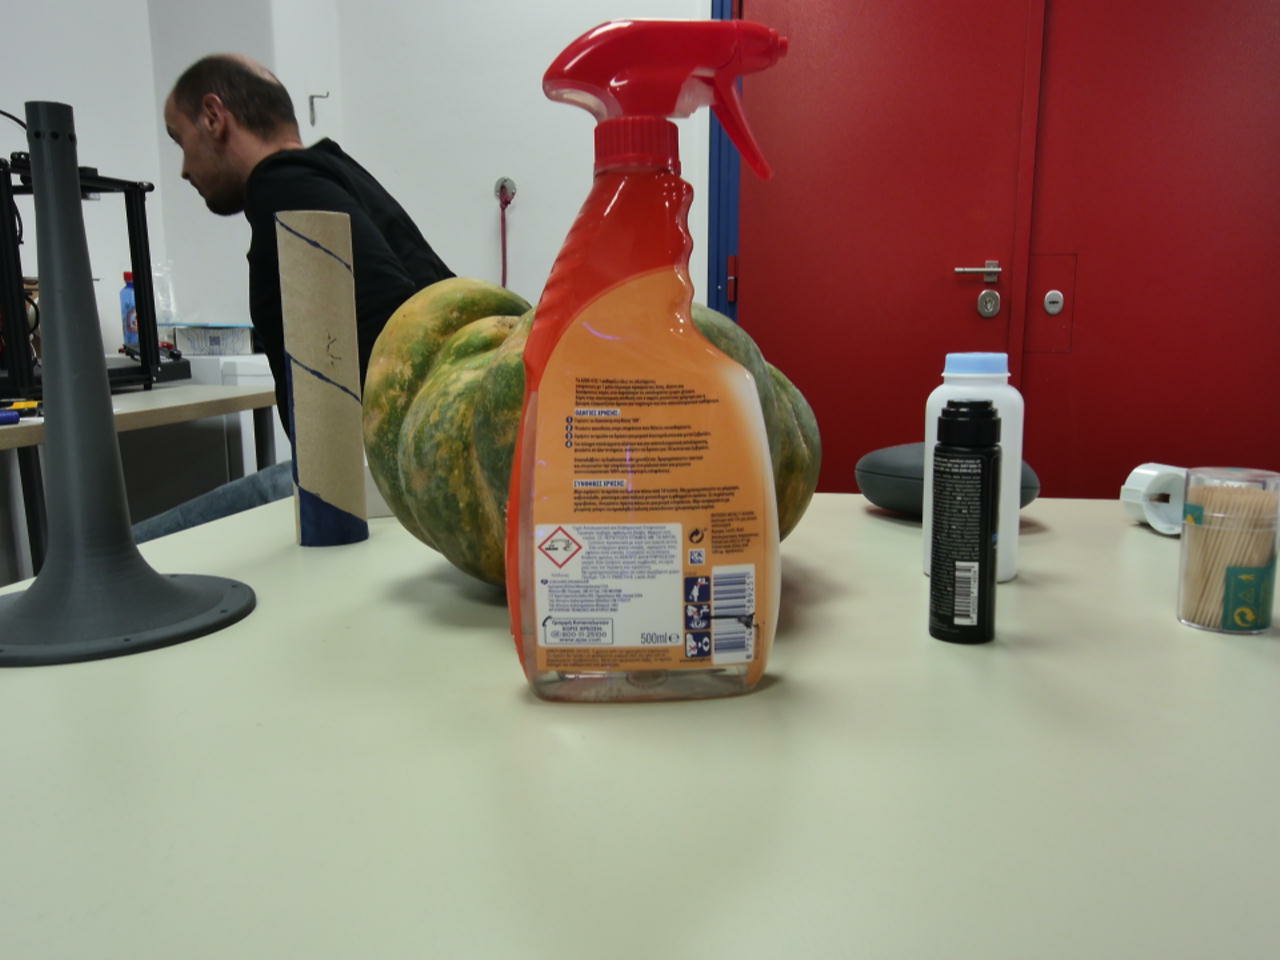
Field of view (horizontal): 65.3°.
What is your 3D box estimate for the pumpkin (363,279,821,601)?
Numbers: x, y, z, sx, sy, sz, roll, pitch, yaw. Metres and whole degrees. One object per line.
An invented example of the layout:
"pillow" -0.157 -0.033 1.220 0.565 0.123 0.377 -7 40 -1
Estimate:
"pumpkin" -0.028 -0.026 0.573 0.237 0.173 0.270 -6 9 -41
